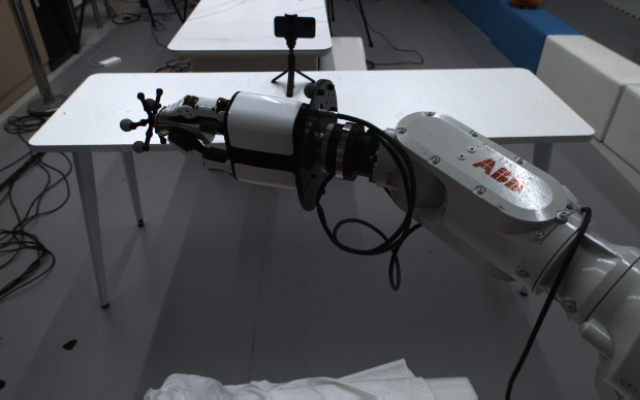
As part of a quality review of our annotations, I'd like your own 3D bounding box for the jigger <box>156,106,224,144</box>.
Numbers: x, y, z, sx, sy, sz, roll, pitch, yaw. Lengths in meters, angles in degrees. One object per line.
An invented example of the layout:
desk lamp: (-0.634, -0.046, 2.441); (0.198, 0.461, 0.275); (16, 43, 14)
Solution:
jigger: (-0.172, -0.104, 0.638); (0.071, 0.043, 0.043); (10, 35, 16)
